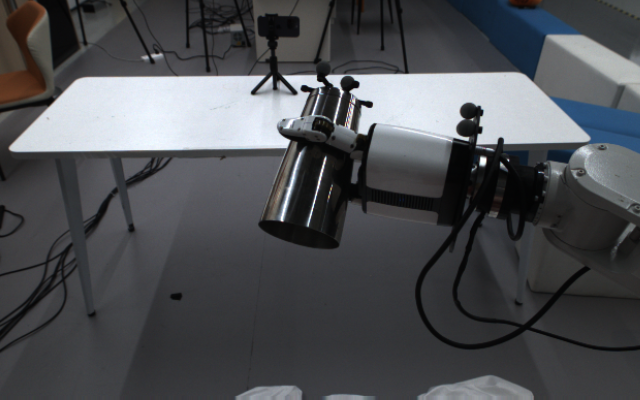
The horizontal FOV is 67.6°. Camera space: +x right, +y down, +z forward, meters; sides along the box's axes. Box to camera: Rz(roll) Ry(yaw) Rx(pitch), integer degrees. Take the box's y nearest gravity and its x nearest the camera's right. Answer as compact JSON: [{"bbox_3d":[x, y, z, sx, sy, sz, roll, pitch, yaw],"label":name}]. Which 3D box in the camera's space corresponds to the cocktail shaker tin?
[{"bbox_3d":[-0.001,-0.038,0.551,0.093,0.093,0.170,11,71,12],"label":"cocktail shaker tin"}]
